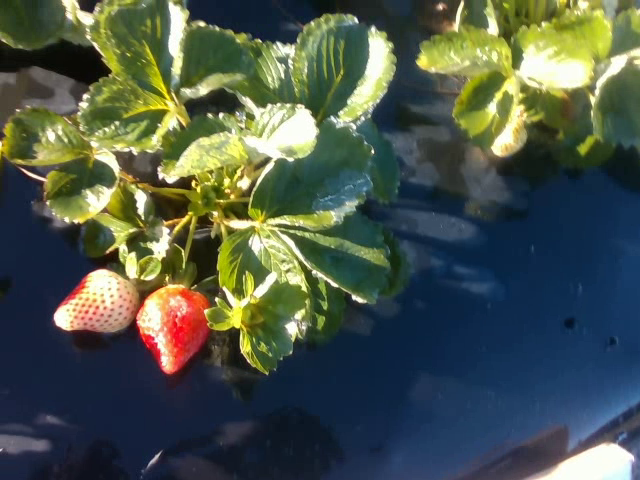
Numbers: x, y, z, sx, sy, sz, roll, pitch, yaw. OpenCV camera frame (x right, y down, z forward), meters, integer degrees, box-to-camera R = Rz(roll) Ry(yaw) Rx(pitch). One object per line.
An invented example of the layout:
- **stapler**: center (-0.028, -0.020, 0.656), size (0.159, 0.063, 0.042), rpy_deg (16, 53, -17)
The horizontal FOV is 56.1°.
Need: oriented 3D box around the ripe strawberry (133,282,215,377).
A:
- **ripe strawberry**: center (-0.070, 0.046, 0.287), size (0.040, 0.038, 0.056), rpy_deg (-20, 28, 10)
